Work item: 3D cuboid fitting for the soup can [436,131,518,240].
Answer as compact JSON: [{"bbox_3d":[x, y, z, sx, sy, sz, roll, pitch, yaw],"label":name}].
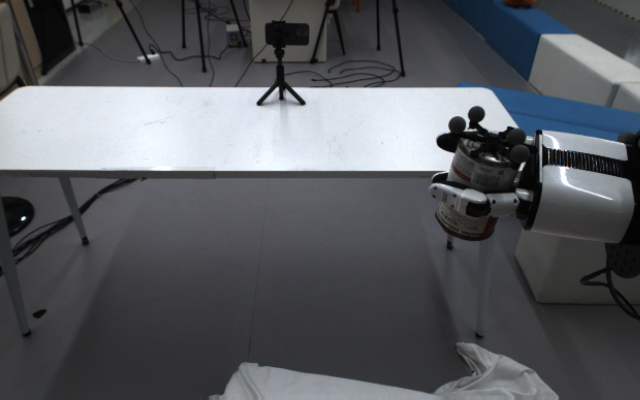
[{"bbox_3d":[0.173,-0.016,0.531,0.067,0.101,0.067,5,37,-4],"label":"soup can"}]
